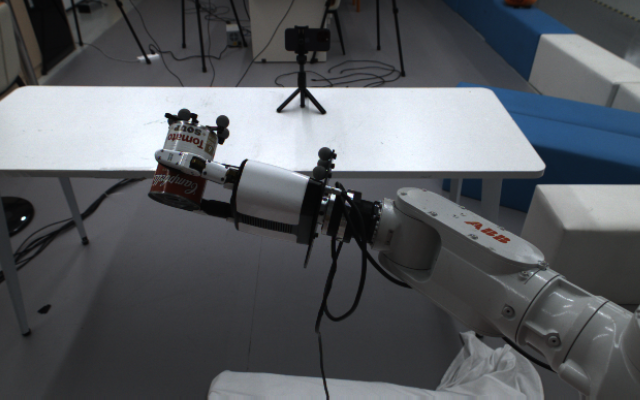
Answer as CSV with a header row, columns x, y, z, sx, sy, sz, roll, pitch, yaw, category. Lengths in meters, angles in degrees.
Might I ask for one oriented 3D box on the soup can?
x,y,z,sx,sy,sz,roll,pitch,yaw,category
-0.179,-0.043,0.640,0.067,0.067,0.101,8,74,9,soup can
